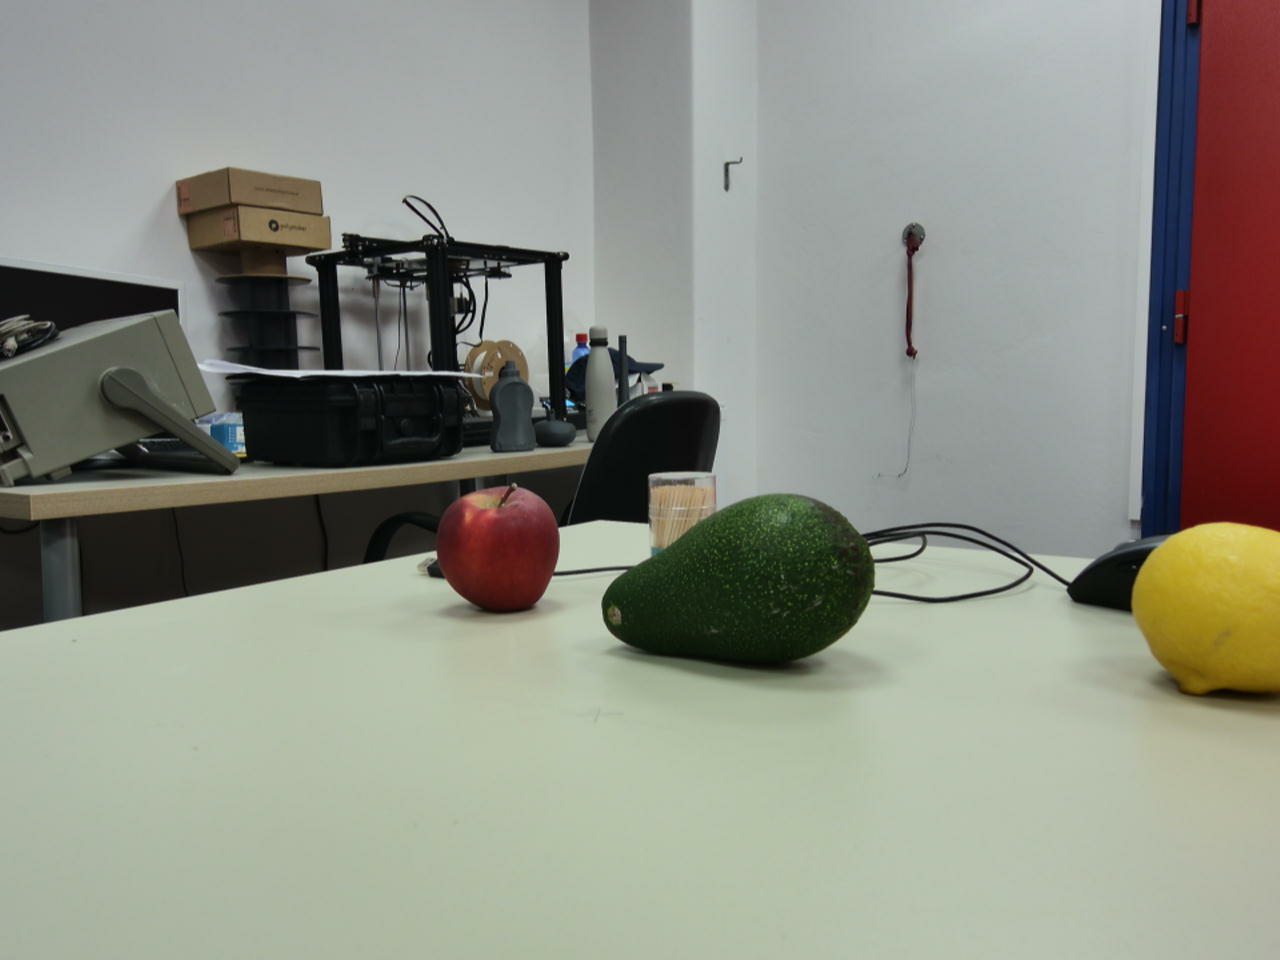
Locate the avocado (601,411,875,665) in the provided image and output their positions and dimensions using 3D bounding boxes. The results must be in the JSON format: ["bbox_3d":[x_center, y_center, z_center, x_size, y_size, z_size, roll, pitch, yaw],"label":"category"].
[{"bbox_3d":[0.048,0.043,0.454,0.123,0.076,0.074,3,4,44],"label":"avocado"}]
